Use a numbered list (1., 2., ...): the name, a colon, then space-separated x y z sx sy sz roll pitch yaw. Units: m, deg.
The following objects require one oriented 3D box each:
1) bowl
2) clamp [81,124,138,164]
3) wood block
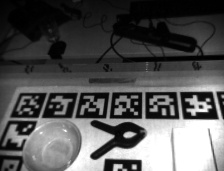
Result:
1. bowl: -0.170 0.185 0.610 0.161 0.055 0.161 -3 56 5
2. clamp: -0.005 0.155 0.622 0.165 0.037 0.121 -8 53 0
3. wood block: 0.186 0.218 0.501 0.089 0.091 0.205 2 54 10
